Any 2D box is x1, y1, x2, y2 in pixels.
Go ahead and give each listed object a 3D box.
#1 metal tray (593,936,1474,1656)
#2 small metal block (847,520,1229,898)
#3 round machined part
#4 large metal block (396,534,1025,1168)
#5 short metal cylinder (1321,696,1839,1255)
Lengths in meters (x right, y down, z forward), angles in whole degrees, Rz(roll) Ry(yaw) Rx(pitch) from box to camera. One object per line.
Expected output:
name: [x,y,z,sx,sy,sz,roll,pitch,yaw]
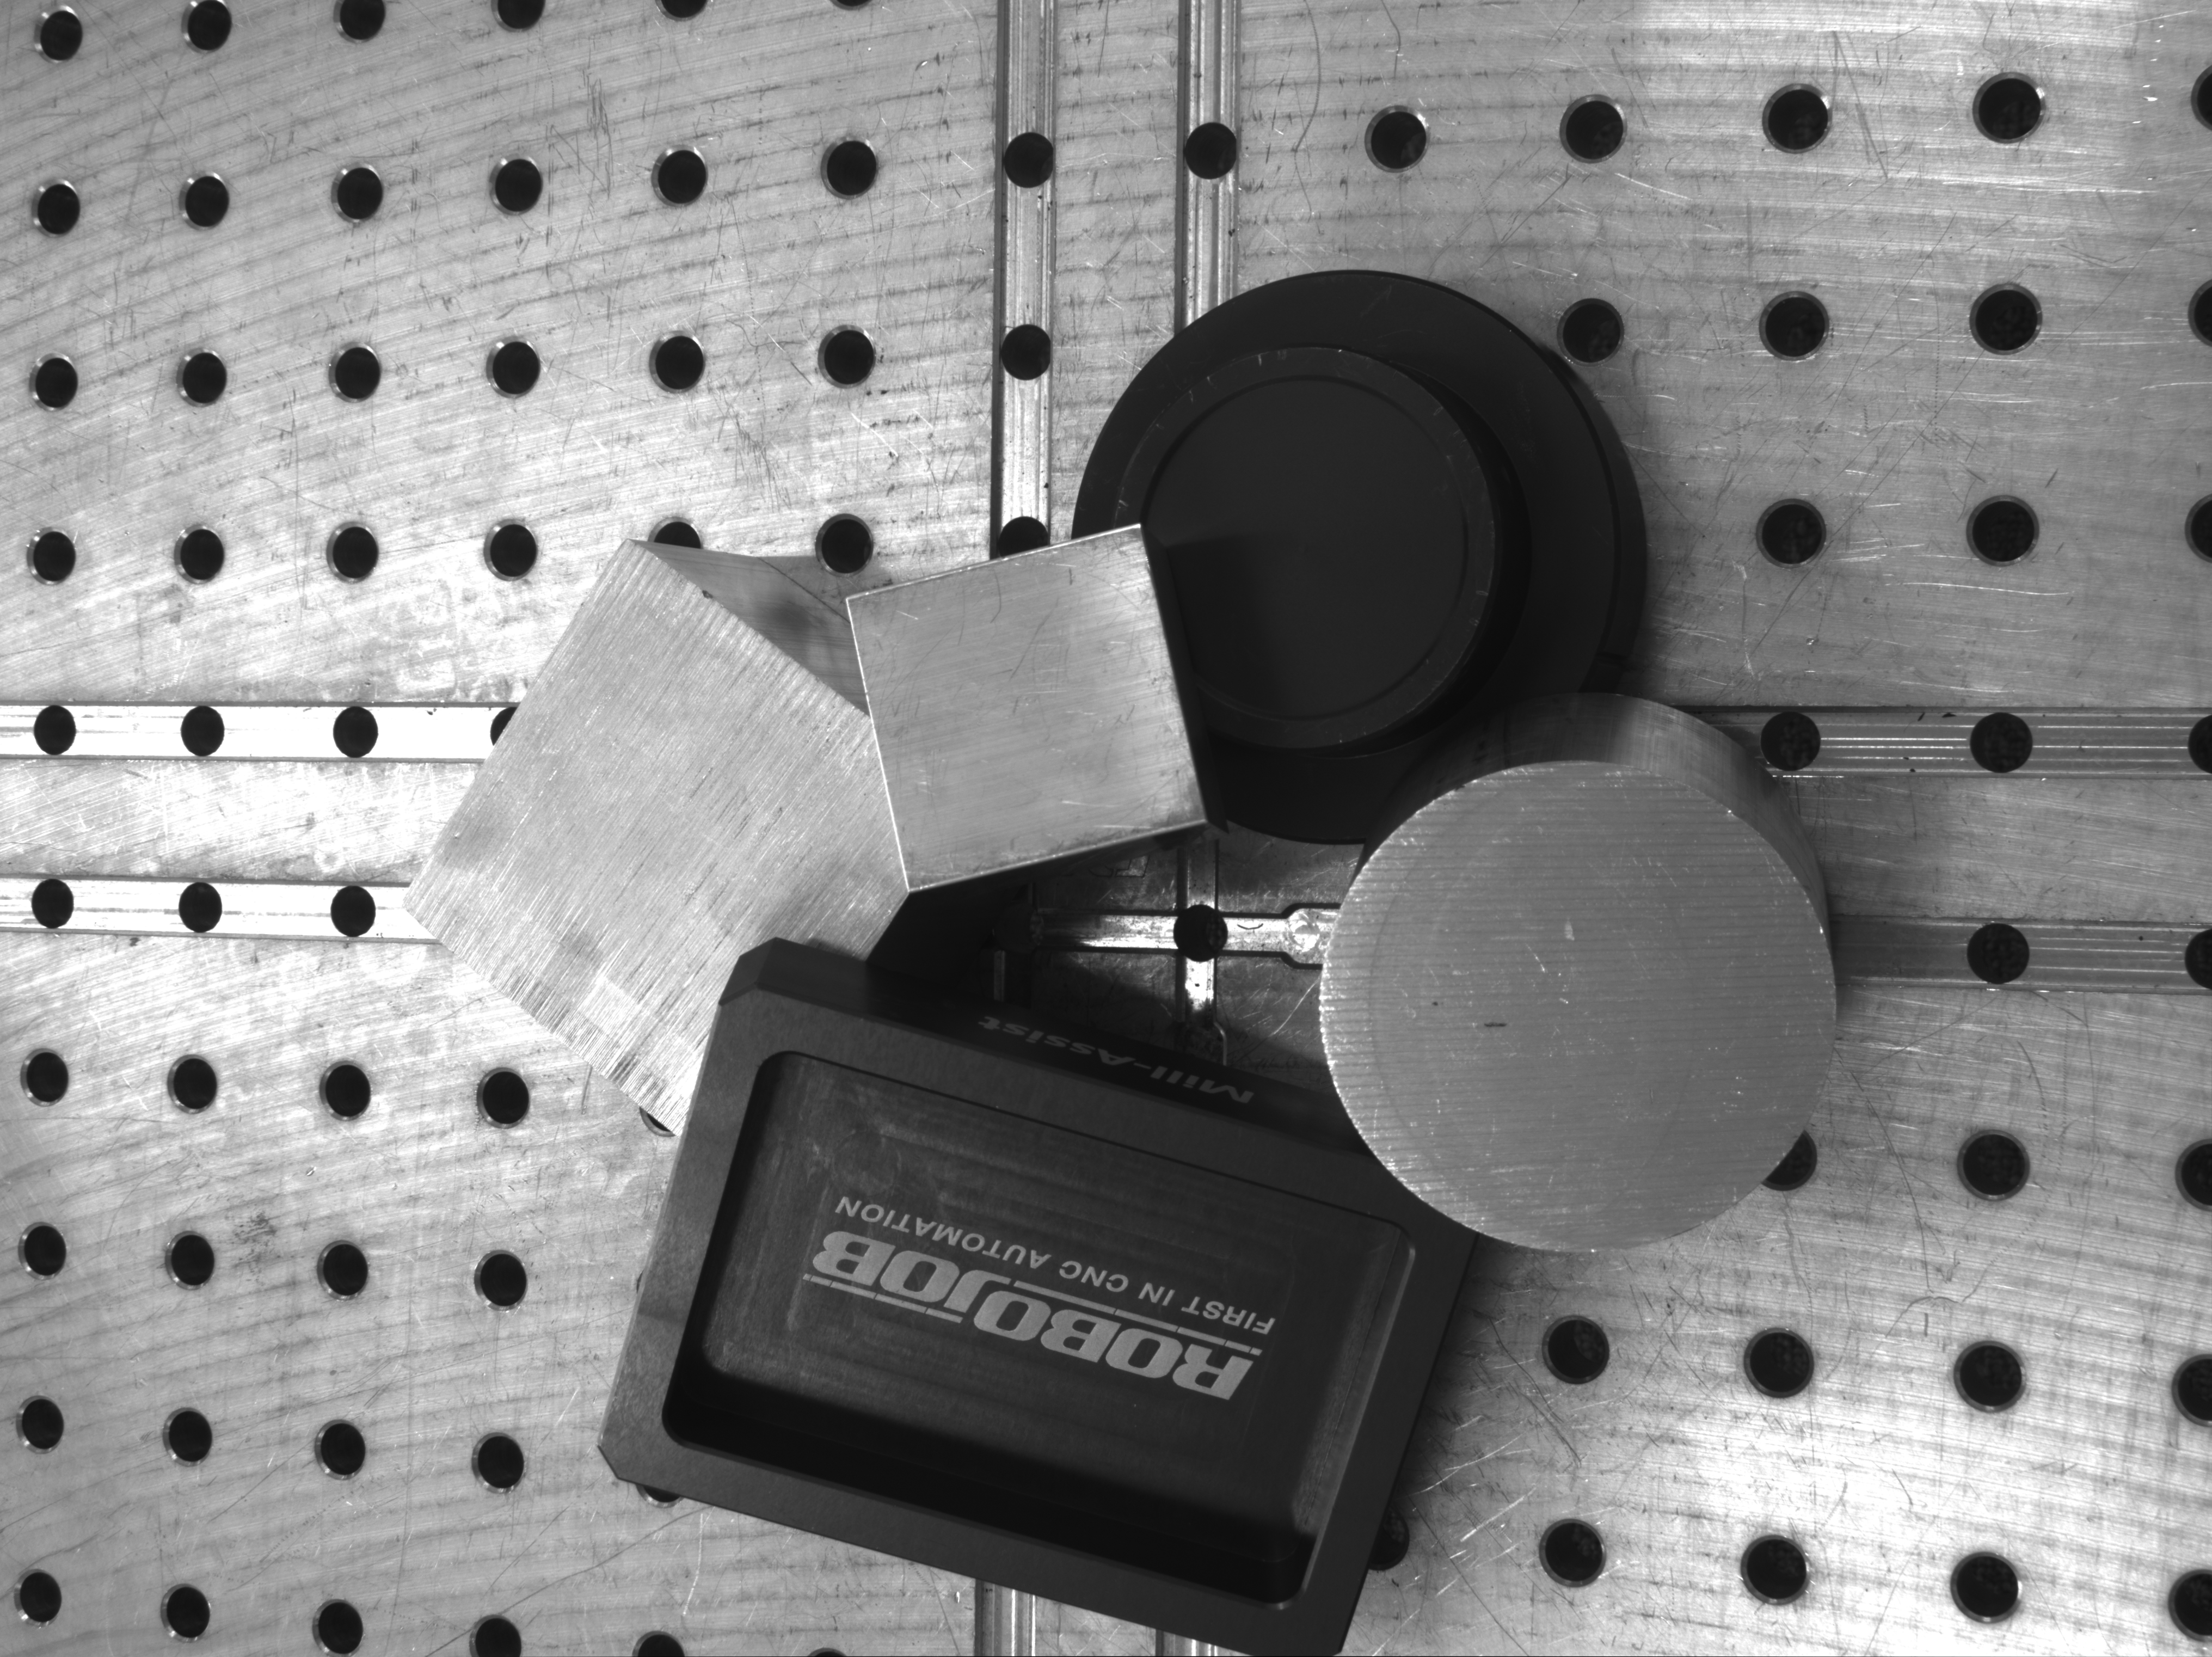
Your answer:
metal tray: [-0.012,0.080,0.620,0.130,0.030,0.090,16,103,-3]
small metal block: [-0.011,-0.019,0.604,0.050,0.025,0.050,-13,82,8]
round machined part: [0.040,-0.046,0.626,0.098,0.042,0.098,0,90,20]
large metal block: [-0.066,0.005,0.660,0.080,0.050,0.080,37,102,16]
short metal cylinder: [0.077,0.023,0.596,0.080,0.050,0.080,2,104,9]
